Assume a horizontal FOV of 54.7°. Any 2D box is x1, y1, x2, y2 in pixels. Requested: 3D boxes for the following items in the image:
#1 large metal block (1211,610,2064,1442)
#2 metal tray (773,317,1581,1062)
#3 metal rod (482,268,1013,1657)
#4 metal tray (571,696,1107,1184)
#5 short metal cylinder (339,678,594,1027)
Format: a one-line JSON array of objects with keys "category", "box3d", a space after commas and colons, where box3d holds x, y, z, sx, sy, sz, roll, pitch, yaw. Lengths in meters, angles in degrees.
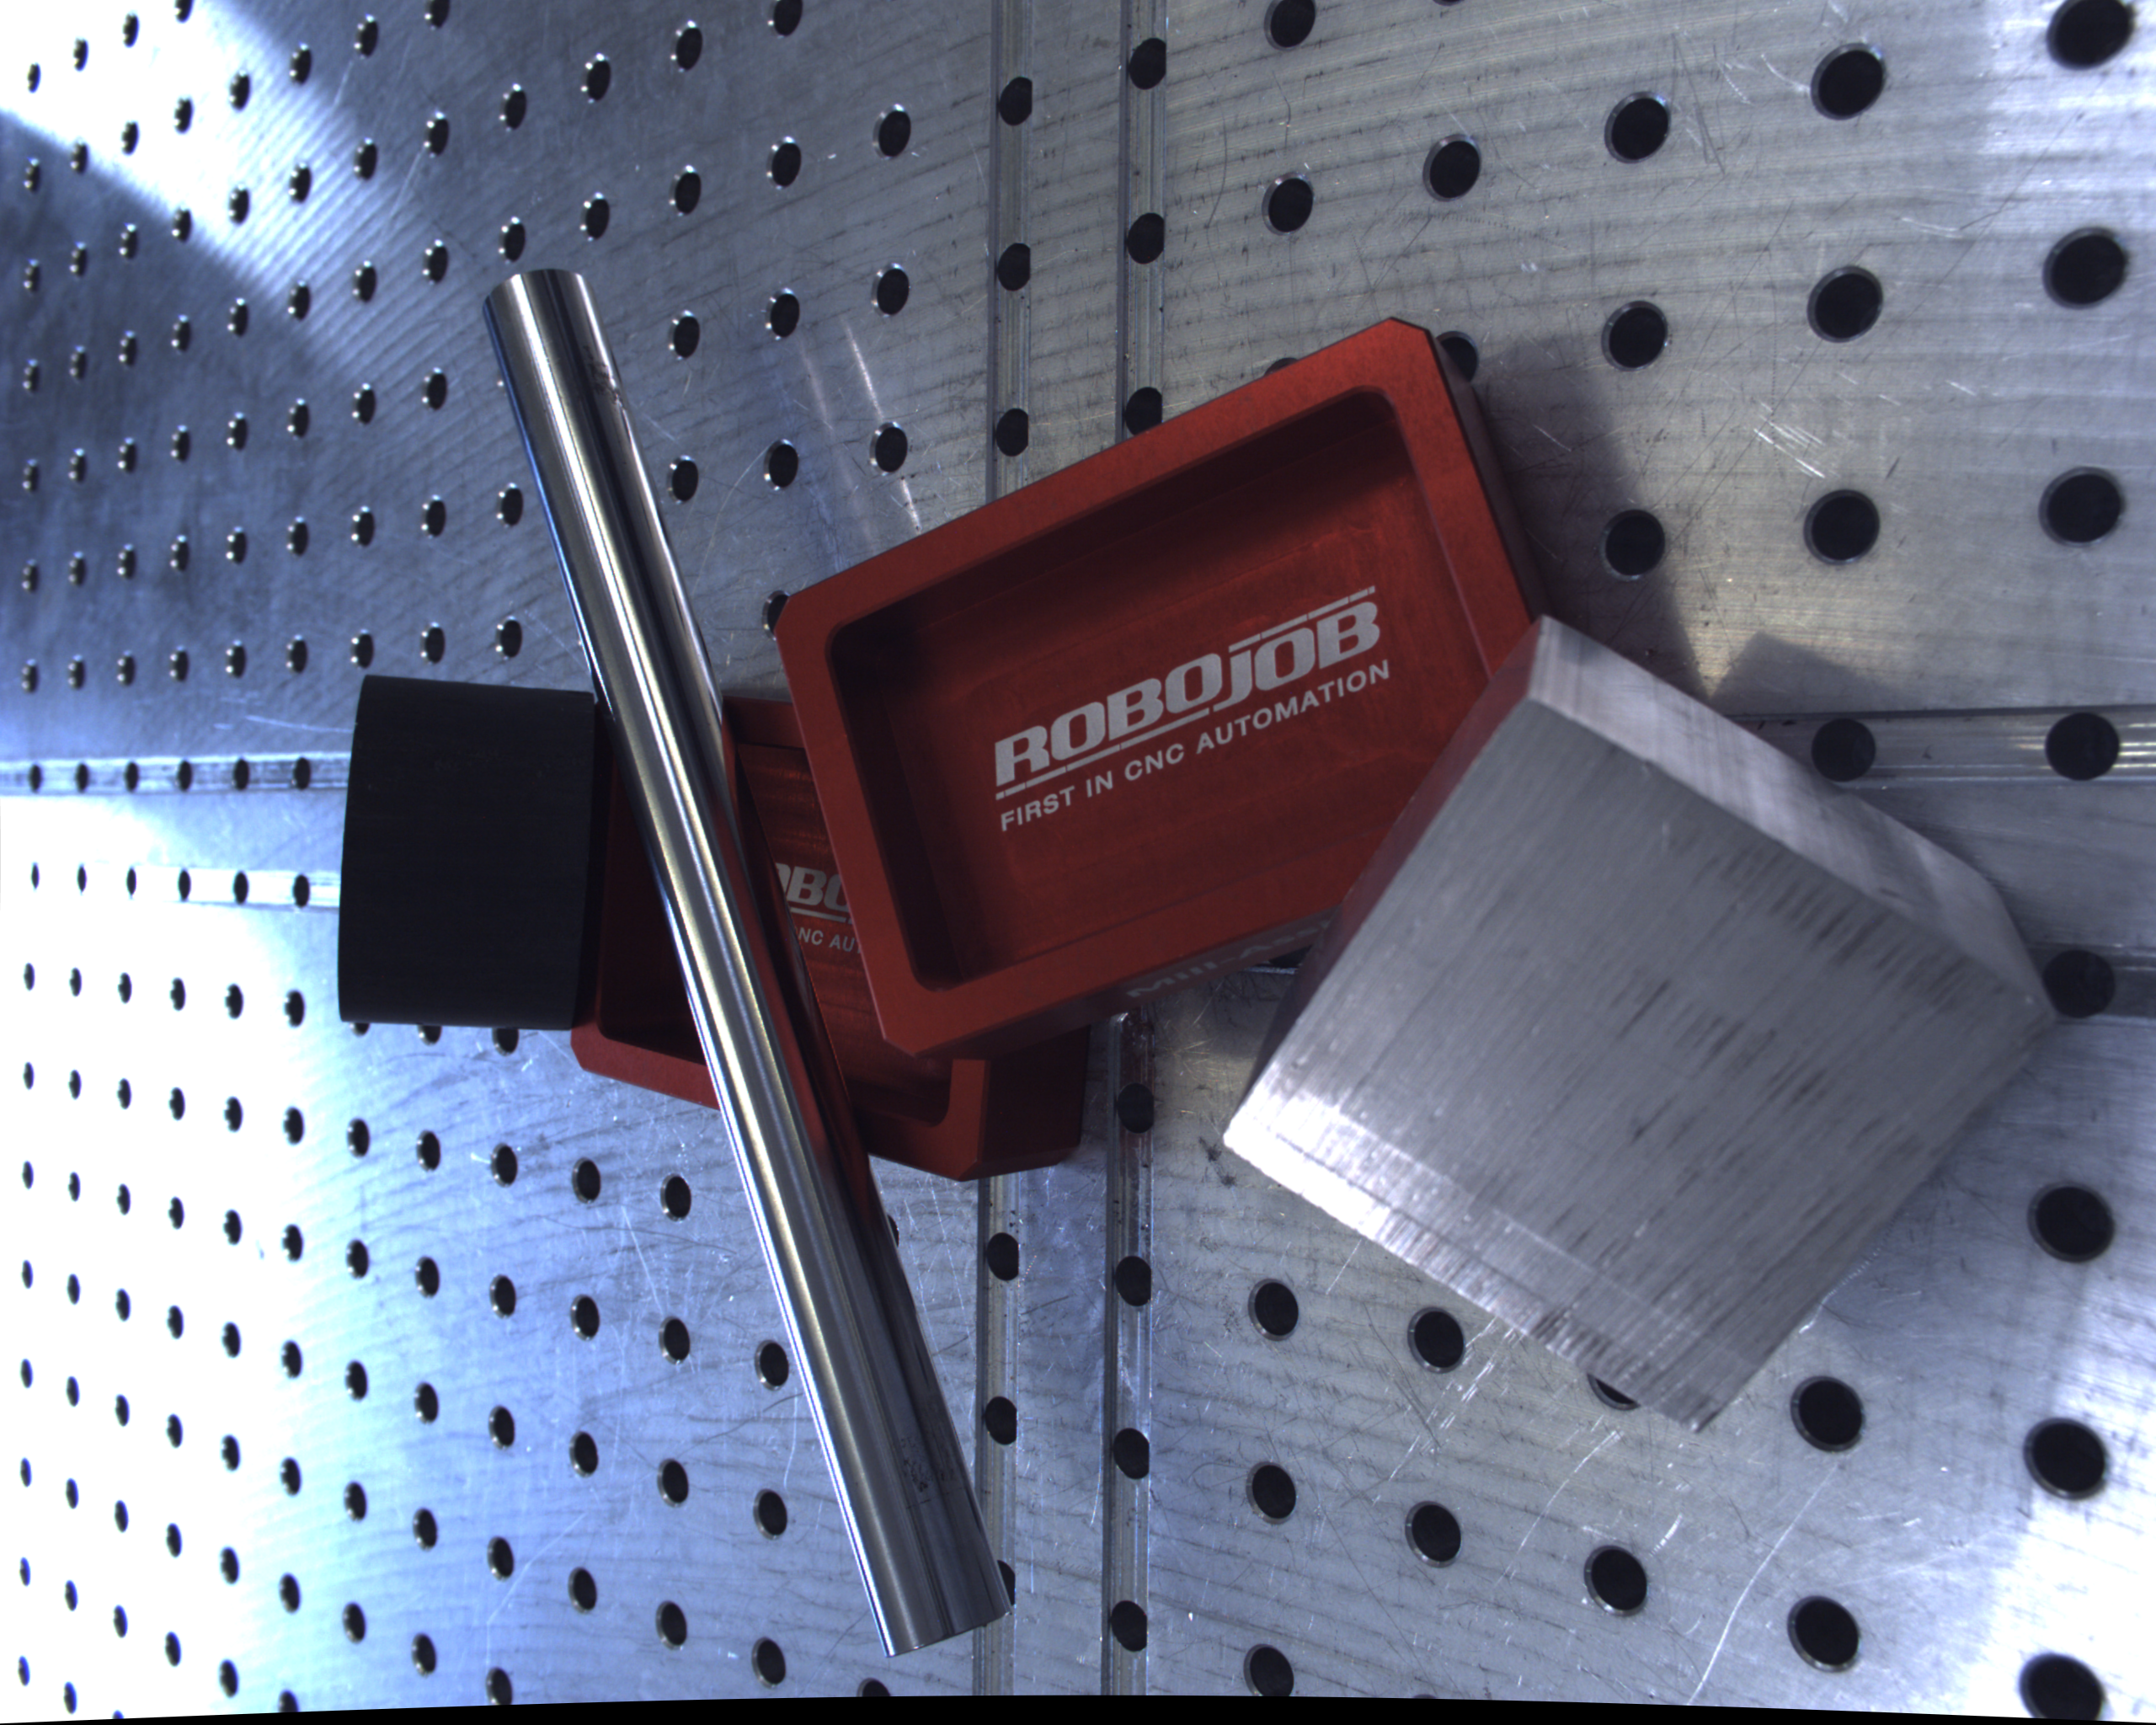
[{"category": "large metal block", "box3d": [0.078, 0.022, 0.305, 0.080, 0.050, 0.080, 32, 114, 2]}, {"category": "metal tray", "box3d": [0.017, -0.026, 0.367, 0.130, 0.030, 0.090, -22, 76, 20]}, {"category": "metal rod", "box3d": [-0.073, 0.009, 0.430, 0.025, 0.025, 0.299, -31, 71, 35]}, {"category": "metal tray", "box3d": [-0.055, 0.011, 0.451, 0.130, 0.030, 0.089, 9, 96, 39]}, {"category": "short metal cylinder", "box3d": [-0.142, -0.002, 0.487, 0.080, 0.050, 0.080, -176, 89, -75]}]
